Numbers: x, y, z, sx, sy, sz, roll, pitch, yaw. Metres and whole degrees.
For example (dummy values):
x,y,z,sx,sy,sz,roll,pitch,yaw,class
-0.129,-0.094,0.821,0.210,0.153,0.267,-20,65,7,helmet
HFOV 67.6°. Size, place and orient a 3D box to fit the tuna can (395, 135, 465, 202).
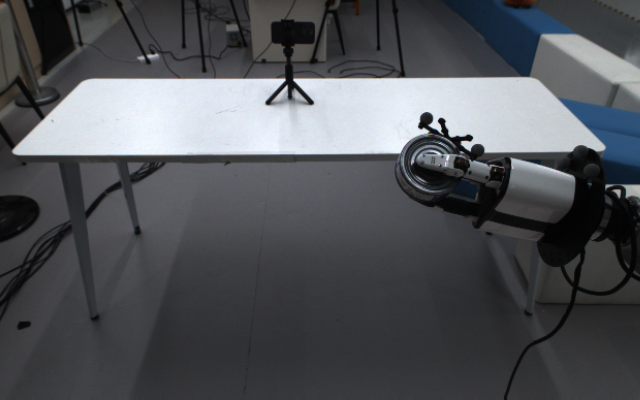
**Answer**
x,y,z,sx,sy,sz,roll,pitch,yaw,class
0.148,-0.037,0.634,0.085,0.034,0.085,0,74,0,tuna can
